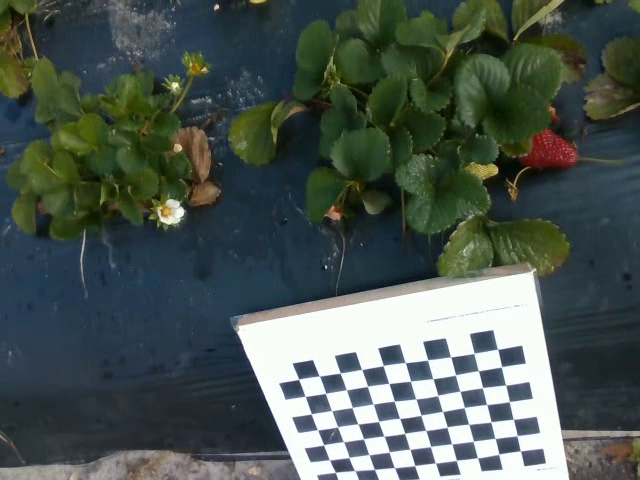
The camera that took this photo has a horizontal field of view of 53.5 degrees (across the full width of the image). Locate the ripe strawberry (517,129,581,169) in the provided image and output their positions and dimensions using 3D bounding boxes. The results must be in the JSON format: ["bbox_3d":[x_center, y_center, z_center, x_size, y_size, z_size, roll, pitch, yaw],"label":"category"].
[{"bbox_3d":[0.193,-0.075,0.534,0.064,0.051,0.043,17,27,-1],"label":"ripe strawberry"}]
